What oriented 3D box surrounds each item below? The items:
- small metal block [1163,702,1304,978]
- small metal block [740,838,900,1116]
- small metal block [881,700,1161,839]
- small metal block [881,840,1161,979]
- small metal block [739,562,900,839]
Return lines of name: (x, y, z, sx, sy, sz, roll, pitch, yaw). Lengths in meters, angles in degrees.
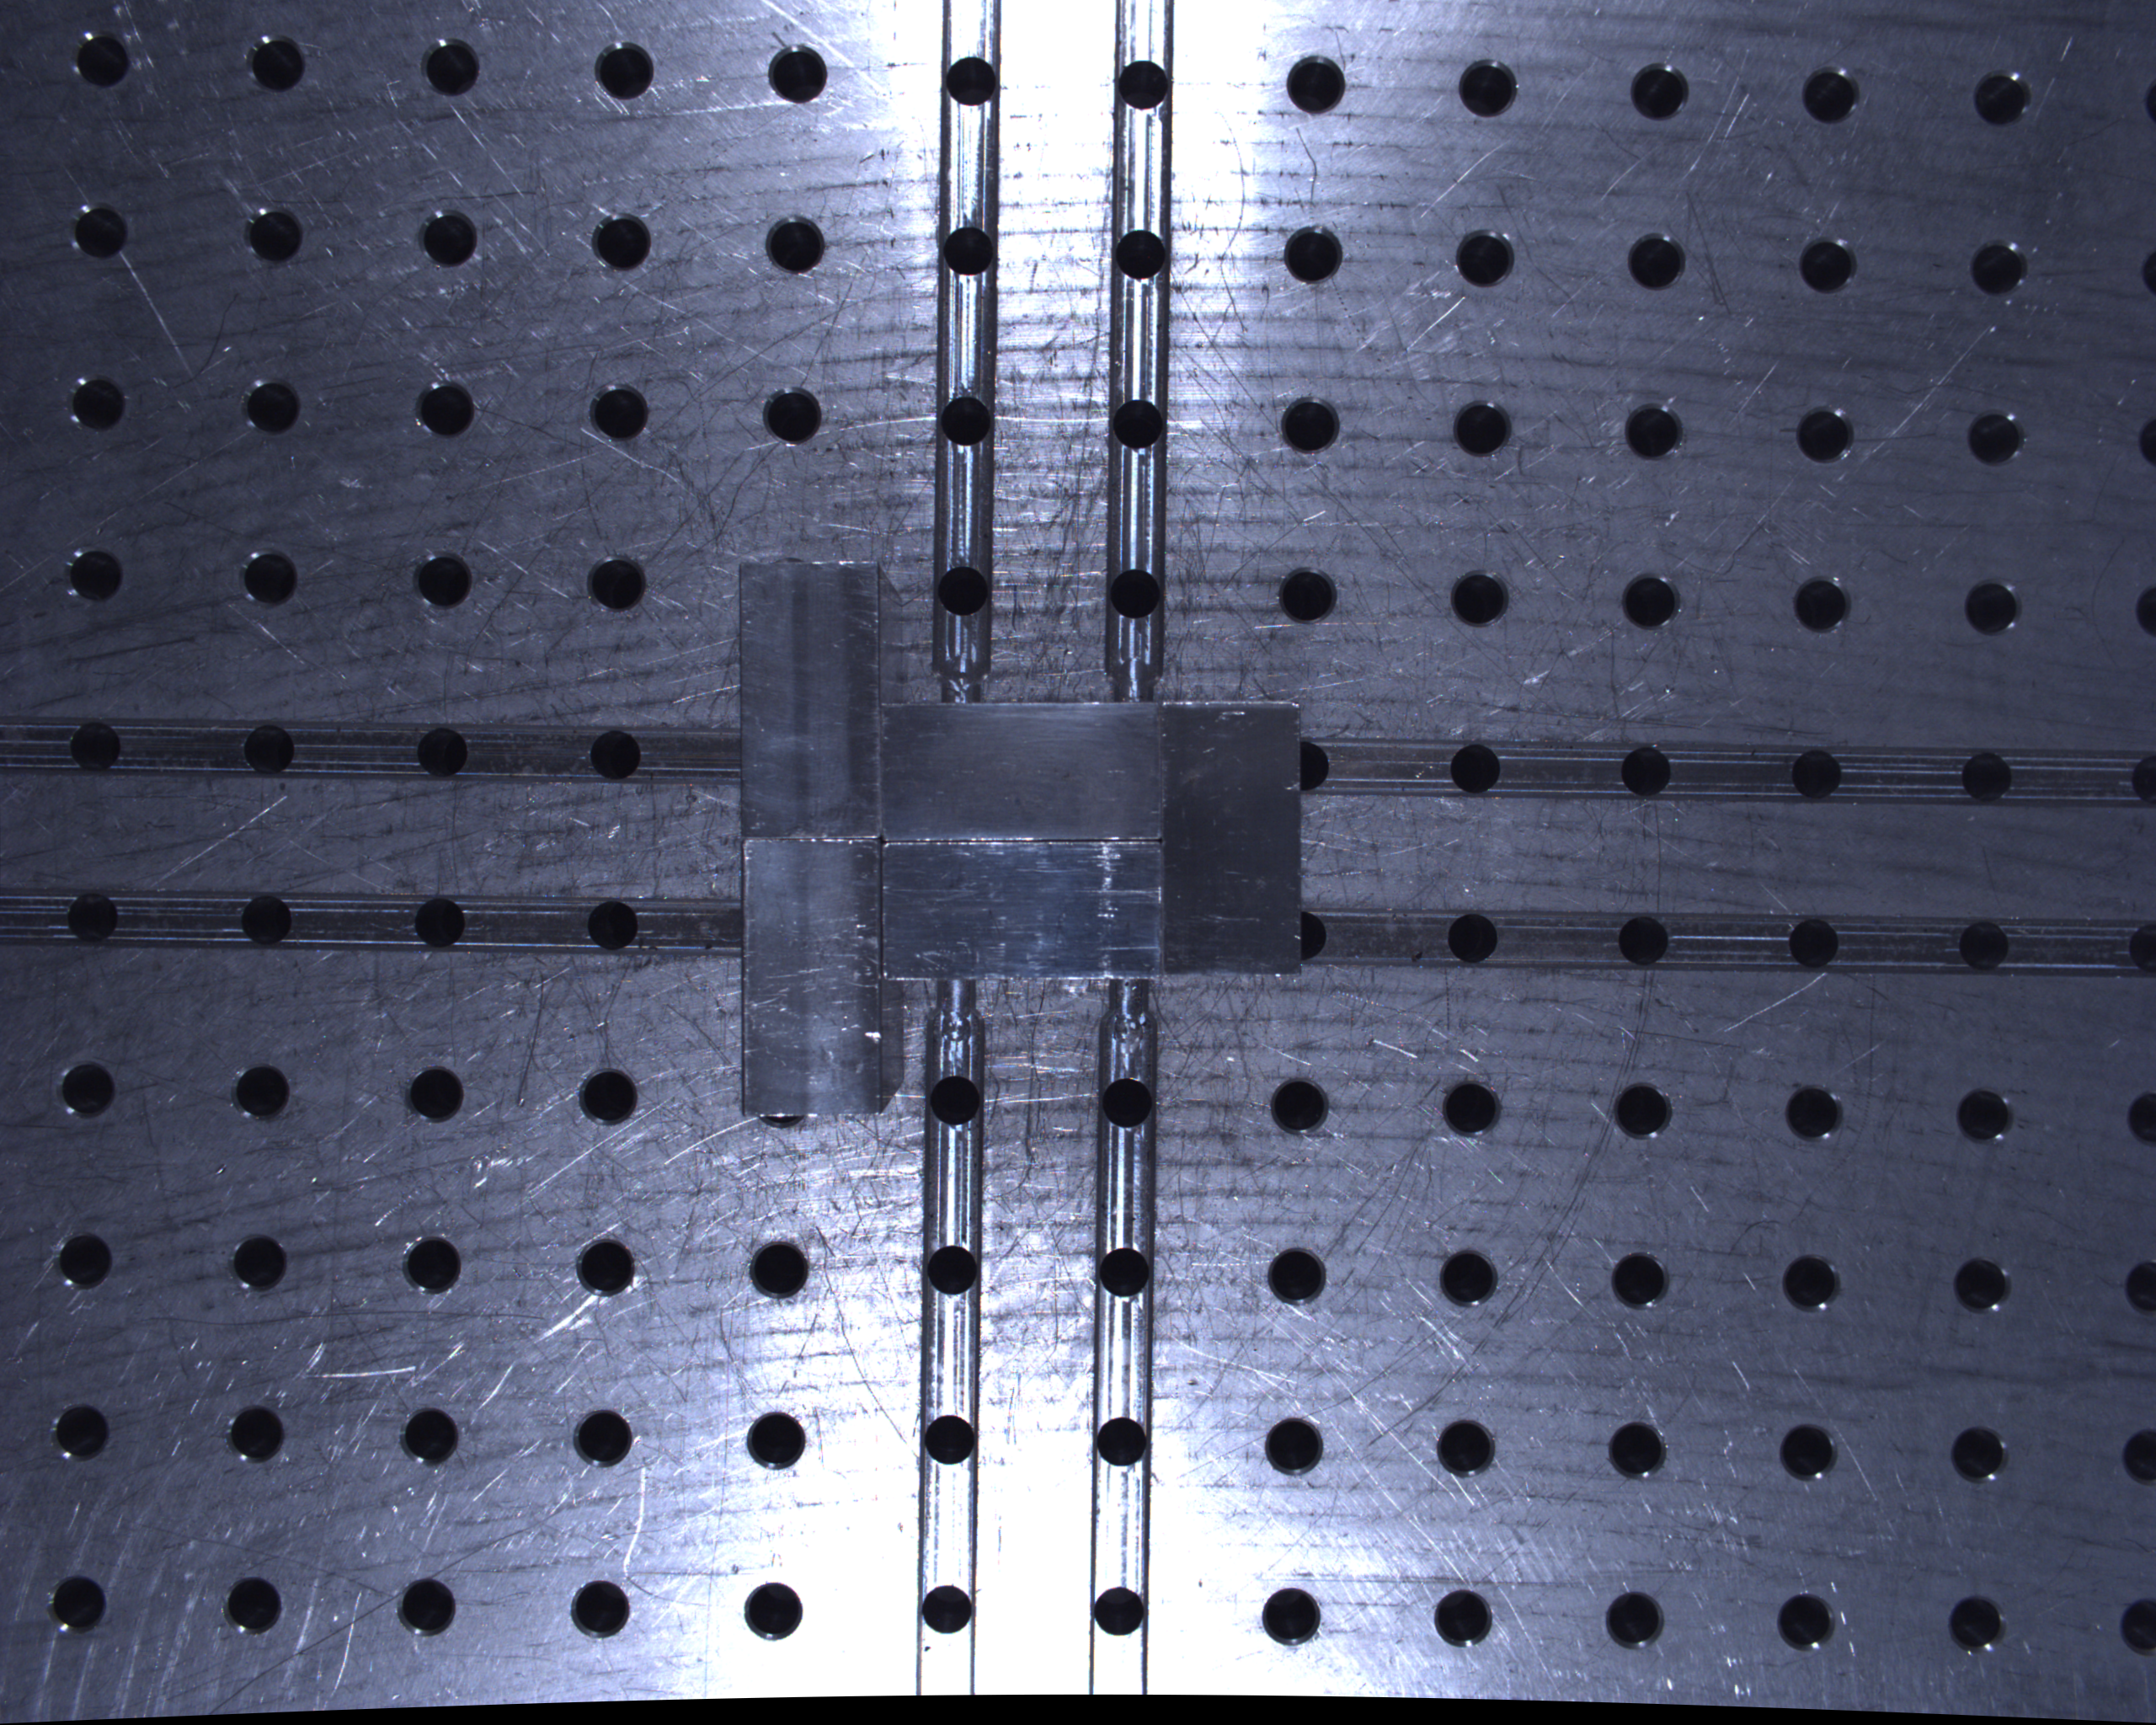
small metal block: (0.028, -0.004, 0.401, 0.025, 0.050, 0.050, 0, 90, 0)
small metal block: (-0.048, 0.020, 0.400, 0.025, 0.050, 0.050, 0, 90, 0)
small metal block: (-0.010, -0.017, 0.400, 0.050, 0.050, 0.025, 0, 90, -1)
small metal block: (-0.010, 0.008, 0.400, 0.050, 0.050, 0.025, 0, 90, -1)
small metal block: (-0.048, -0.029, 0.399, 0.025, 0.050, 0.050, 0, 90, 0)
